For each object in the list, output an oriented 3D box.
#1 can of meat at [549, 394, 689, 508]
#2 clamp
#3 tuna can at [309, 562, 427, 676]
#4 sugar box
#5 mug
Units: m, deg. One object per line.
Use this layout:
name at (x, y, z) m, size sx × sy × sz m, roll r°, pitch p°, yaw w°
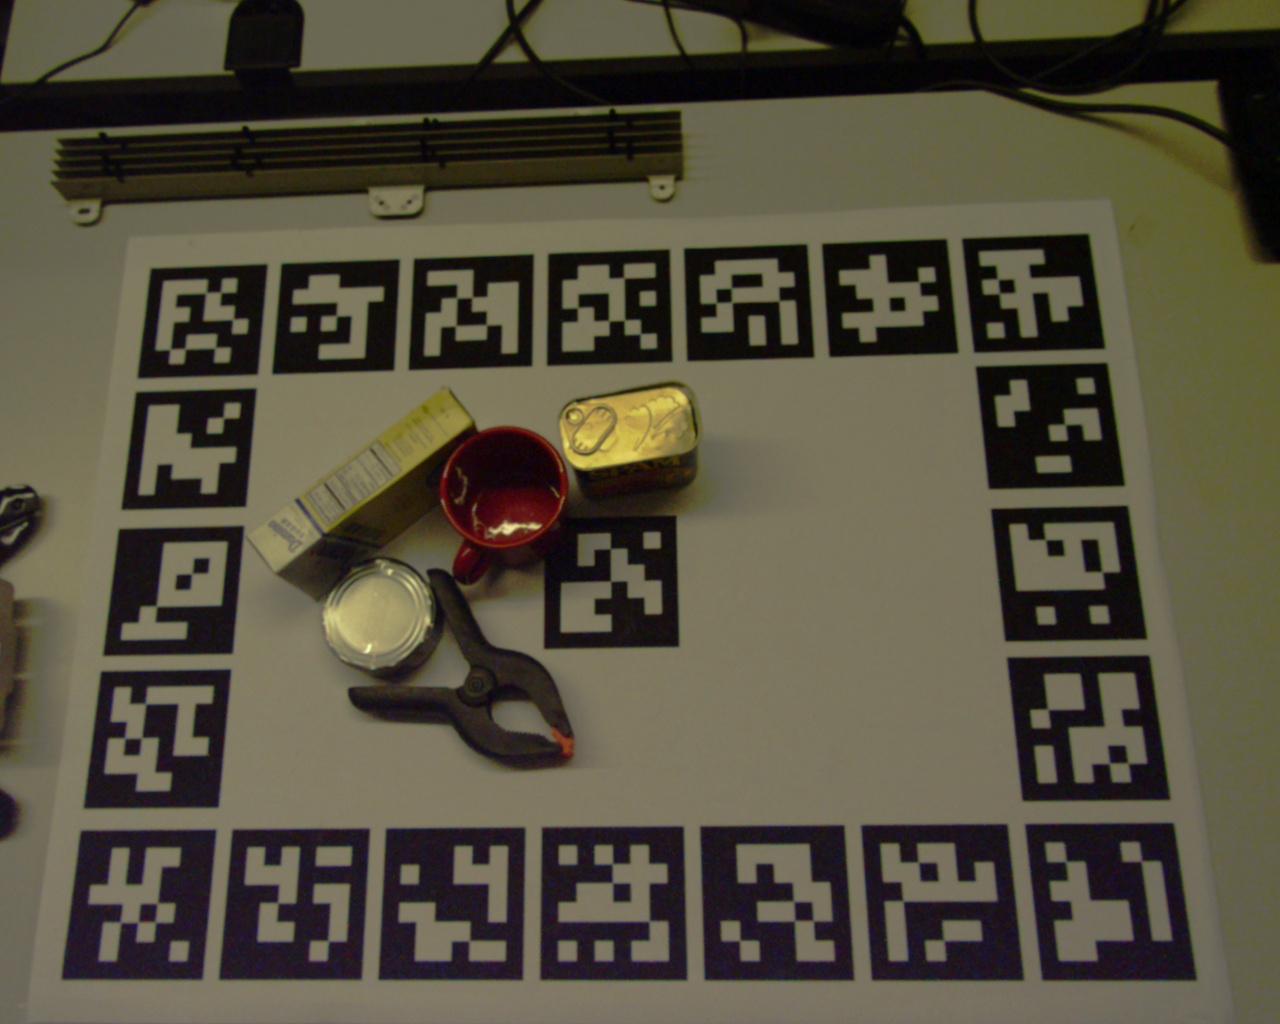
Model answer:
can of meat at (-0.015, -0.044, 0.885) m, size 0.102 × 0.083 × 0.058 m, roll -9°, pitch 73°, yaw -1°
clamp at (-0.130, 0.136, 0.866) m, size 0.166 × 0.036 × 0.121 m, roll 34°, pitch 75°, yaw 7°
tuna can at (-0.209, 0.084, 0.880) m, size 0.086 × 0.033 × 0.086 m, roll -1°, pitch 76°, yaw 3°
sugar box at (-0.208, -0.007, 0.881) m, size 0.176 × 0.092 × 0.045 m, roll -38°, pitch 75°, yaw -9°
mug at (-0.115, 0.005, 0.869) m, size 0.093 × 0.081 × 0.117 m, roll 23°, pitch 79°, yaw 8°
